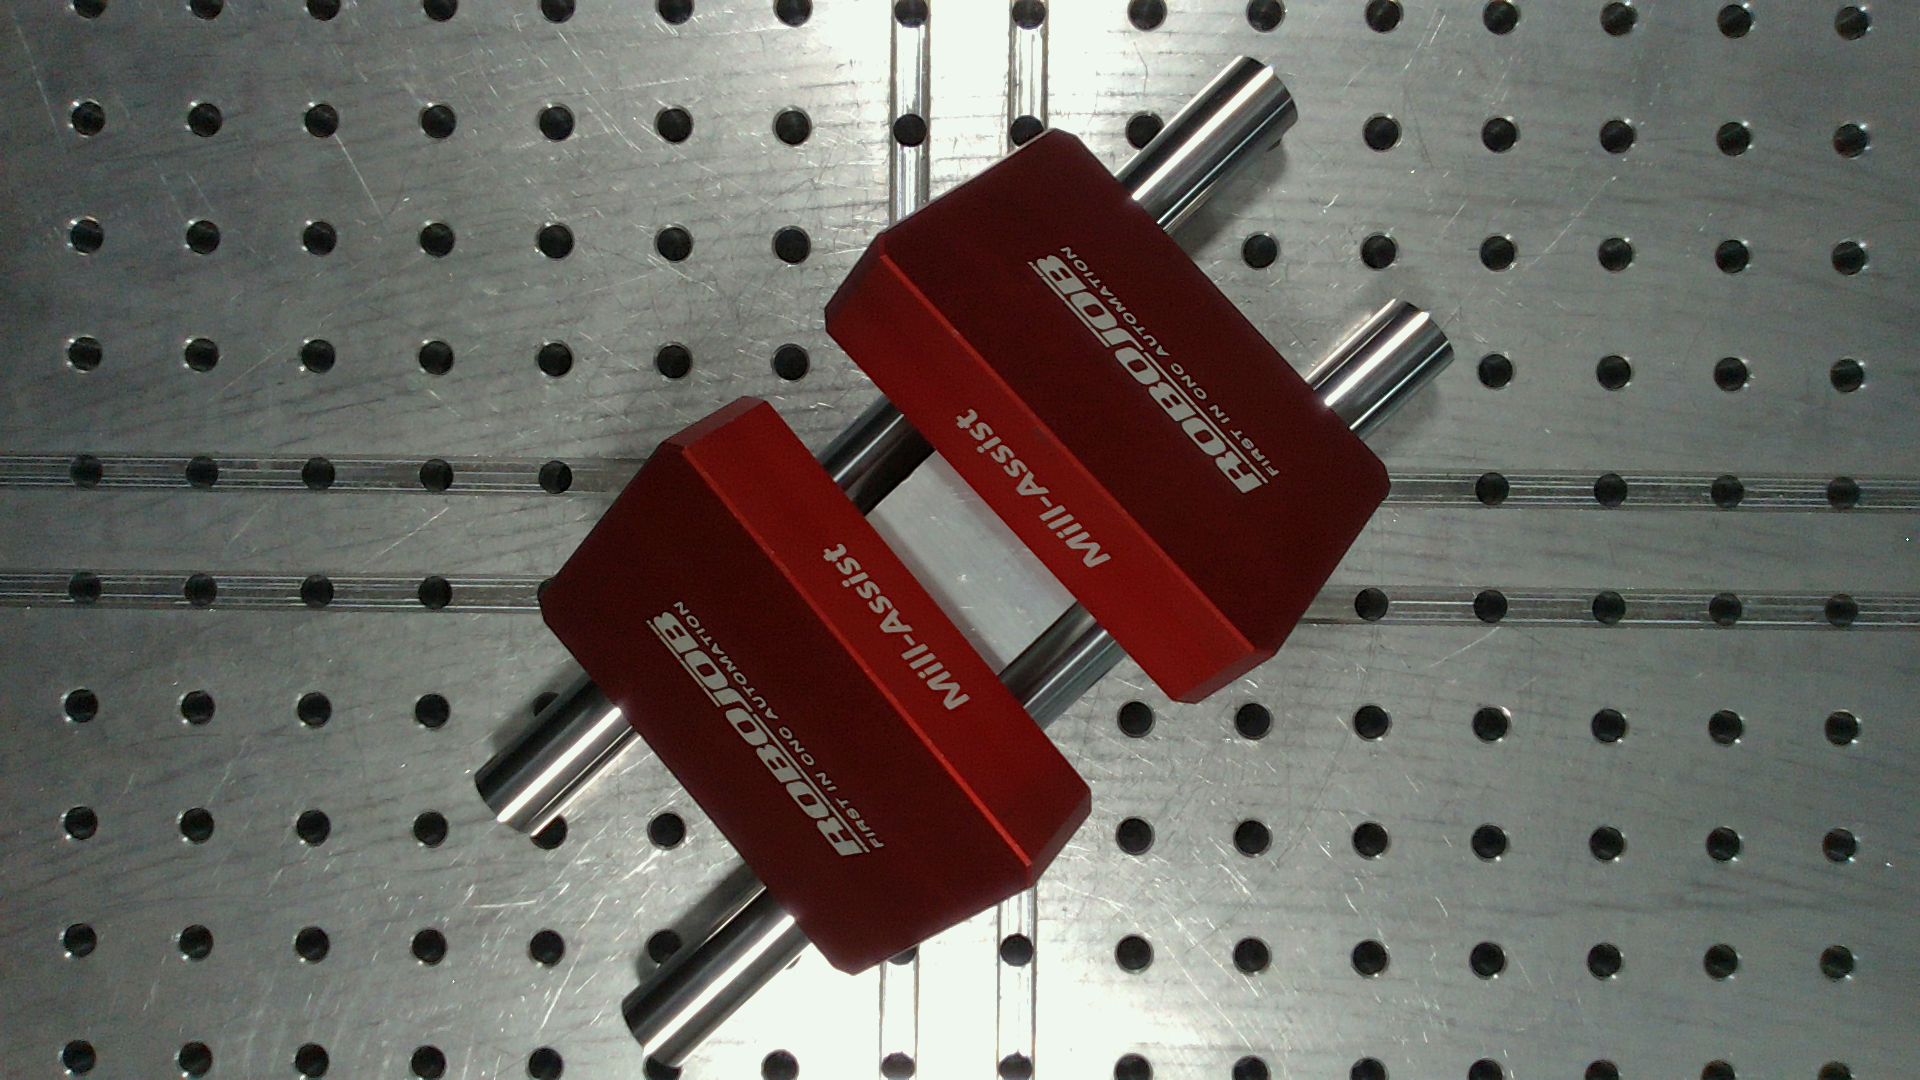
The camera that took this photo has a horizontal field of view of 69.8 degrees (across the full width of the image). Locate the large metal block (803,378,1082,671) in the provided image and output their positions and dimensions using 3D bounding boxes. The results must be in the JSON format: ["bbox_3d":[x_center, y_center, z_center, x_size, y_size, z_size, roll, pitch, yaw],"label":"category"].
[{"bbox_3d":[0.007,0.001,0.370,0.080,0.080,0.050,-42,90,0],"label":"large metal block"}]

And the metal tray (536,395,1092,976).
[{"bbox_3d":[-0.040,0.040,0.344,0.130,0.030,0.090,50,134,0],"label":"metal tray"}]

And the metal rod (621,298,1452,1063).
[{"bbox_3d":[0.022,0.040,0.398,0.300,0.025,0.025,-42,90,0],"label":"metal rod"}]

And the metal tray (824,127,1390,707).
[{"bbox_3d":[0.040,-0.034,0.343,0.130,0.030,0.090,47,46,0],"label":"metal tray"}]

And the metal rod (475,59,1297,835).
[{"bbox_3d":[-0.021,-0.027,0.398,0.300,0.025,0.025,-43,90,0],"label":"metal rod"}]
